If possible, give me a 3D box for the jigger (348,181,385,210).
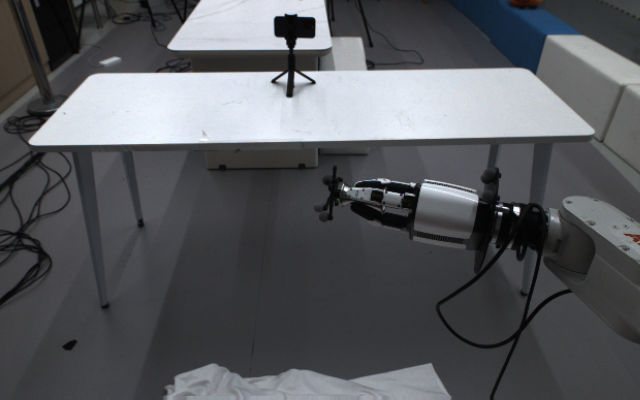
[{"bbox_3d":[0.074,-0.009,0.754,0.071,0.043,0.043,7,35,16],"label":"jigger"}]
